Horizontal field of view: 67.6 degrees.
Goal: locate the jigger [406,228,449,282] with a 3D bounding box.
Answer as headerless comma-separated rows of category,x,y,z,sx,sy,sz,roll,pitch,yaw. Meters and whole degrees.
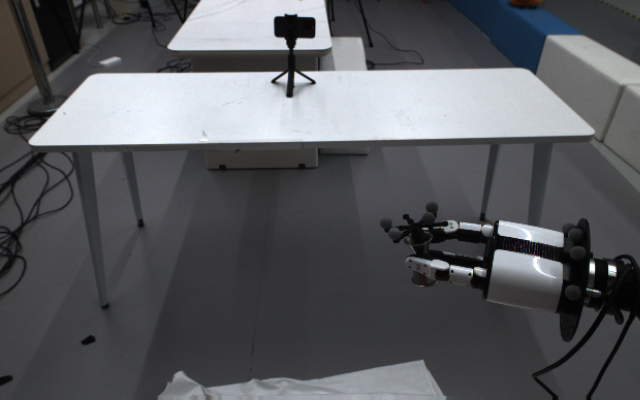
jigger,0.146,0.082,0.685,0.043,0.071,0.043,-14,21,6
